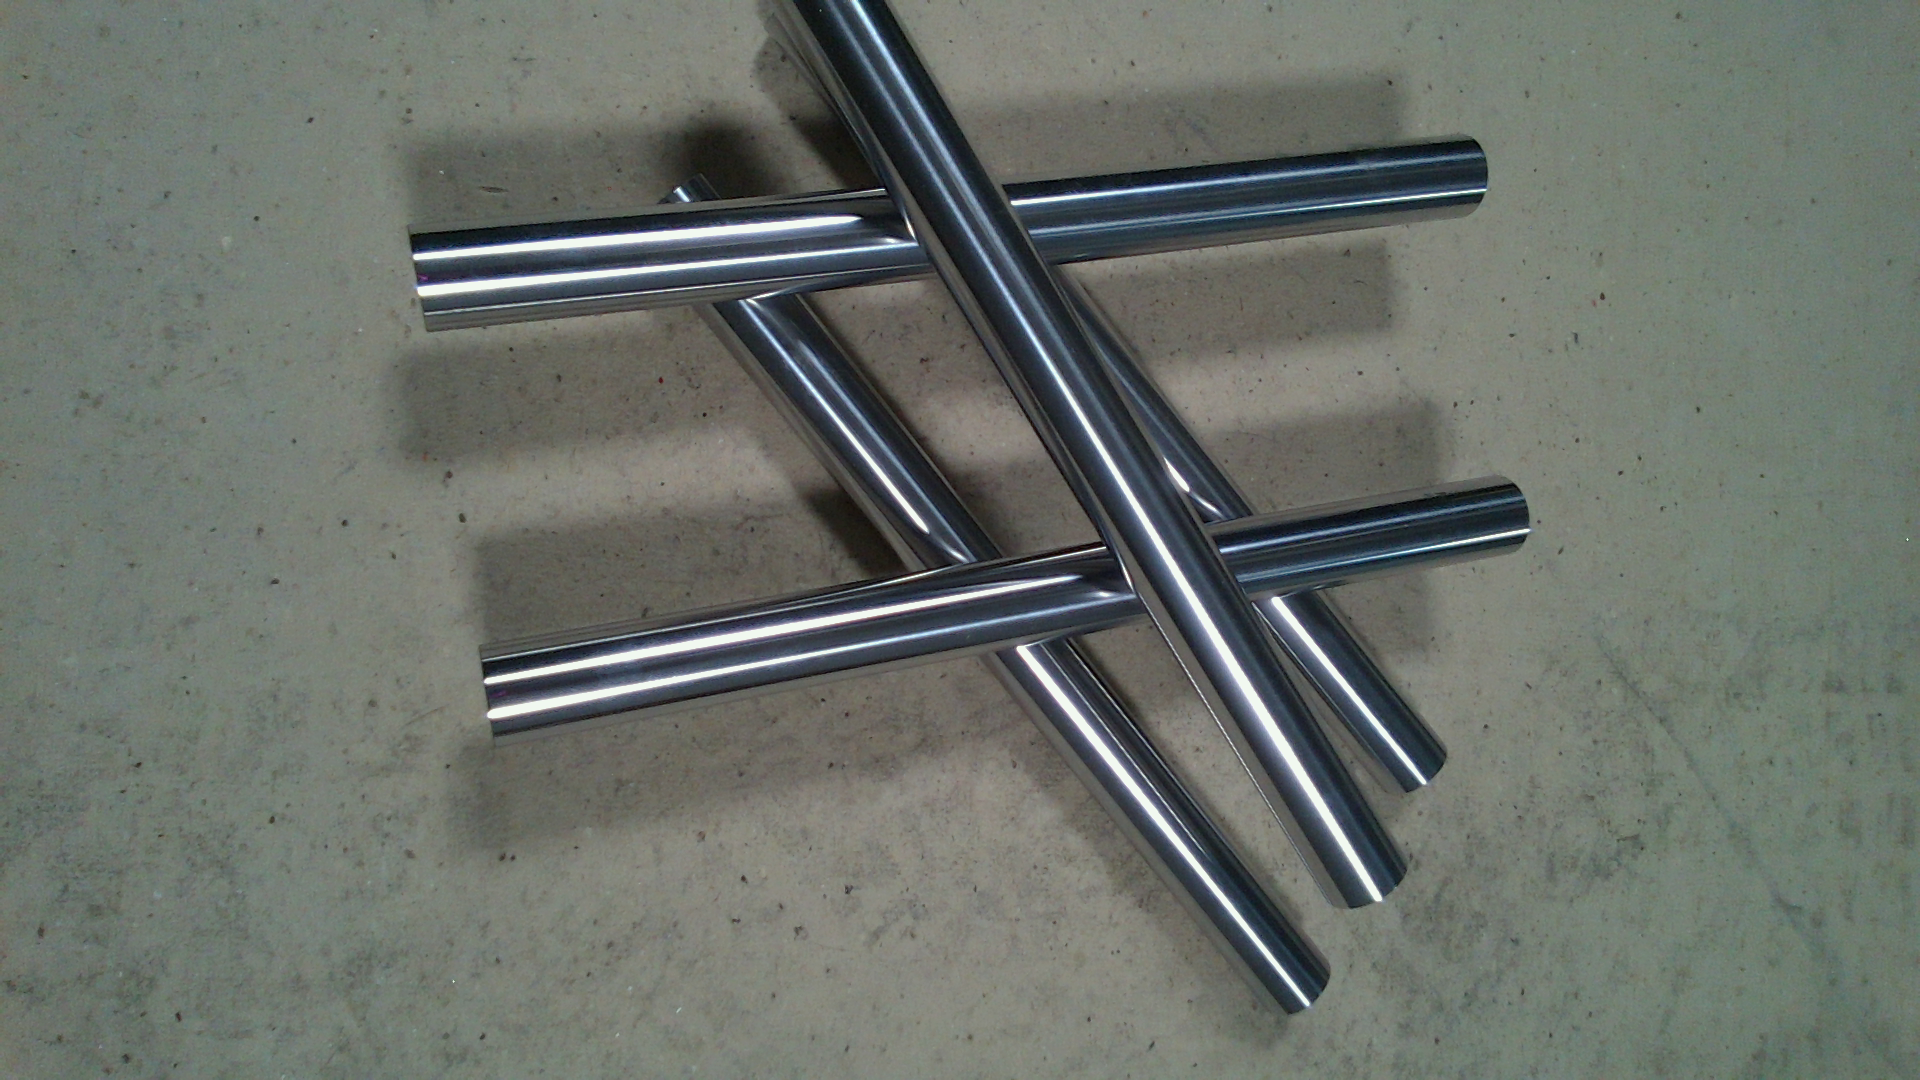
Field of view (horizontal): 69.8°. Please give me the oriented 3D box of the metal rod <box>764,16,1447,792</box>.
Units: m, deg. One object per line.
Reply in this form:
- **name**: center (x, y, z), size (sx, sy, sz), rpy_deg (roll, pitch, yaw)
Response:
- **metal rod**: center (0.051, -0.038, 0.412), size (0.025, 0.025, 0.300), rpy_deg (-44, 104, -14)

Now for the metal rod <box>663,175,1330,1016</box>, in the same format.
- **metal rod**: center (0.013, 0.025, 0.398), size (0.025, 0.025, 0.300), rpy_deg (-42, 103, -15)

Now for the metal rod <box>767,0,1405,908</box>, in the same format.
- **metal rod**: center (0.032, -0.030, 0.353), size (0.025, 0.025, 0.300), rpy_deg (-36, 102, -16)

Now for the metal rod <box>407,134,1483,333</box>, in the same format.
- **metal rod**: center (0.012, -0.086, 0.372), size (0.301, 0.025, 0.025), rpy_deg (-10, 94, -20)

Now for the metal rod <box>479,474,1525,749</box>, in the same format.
- **metal rod**: center (0.027, 0.014, 0.377), size (0.301, 0.025, 0.025), rpy_deg (-9, 93, -20)
